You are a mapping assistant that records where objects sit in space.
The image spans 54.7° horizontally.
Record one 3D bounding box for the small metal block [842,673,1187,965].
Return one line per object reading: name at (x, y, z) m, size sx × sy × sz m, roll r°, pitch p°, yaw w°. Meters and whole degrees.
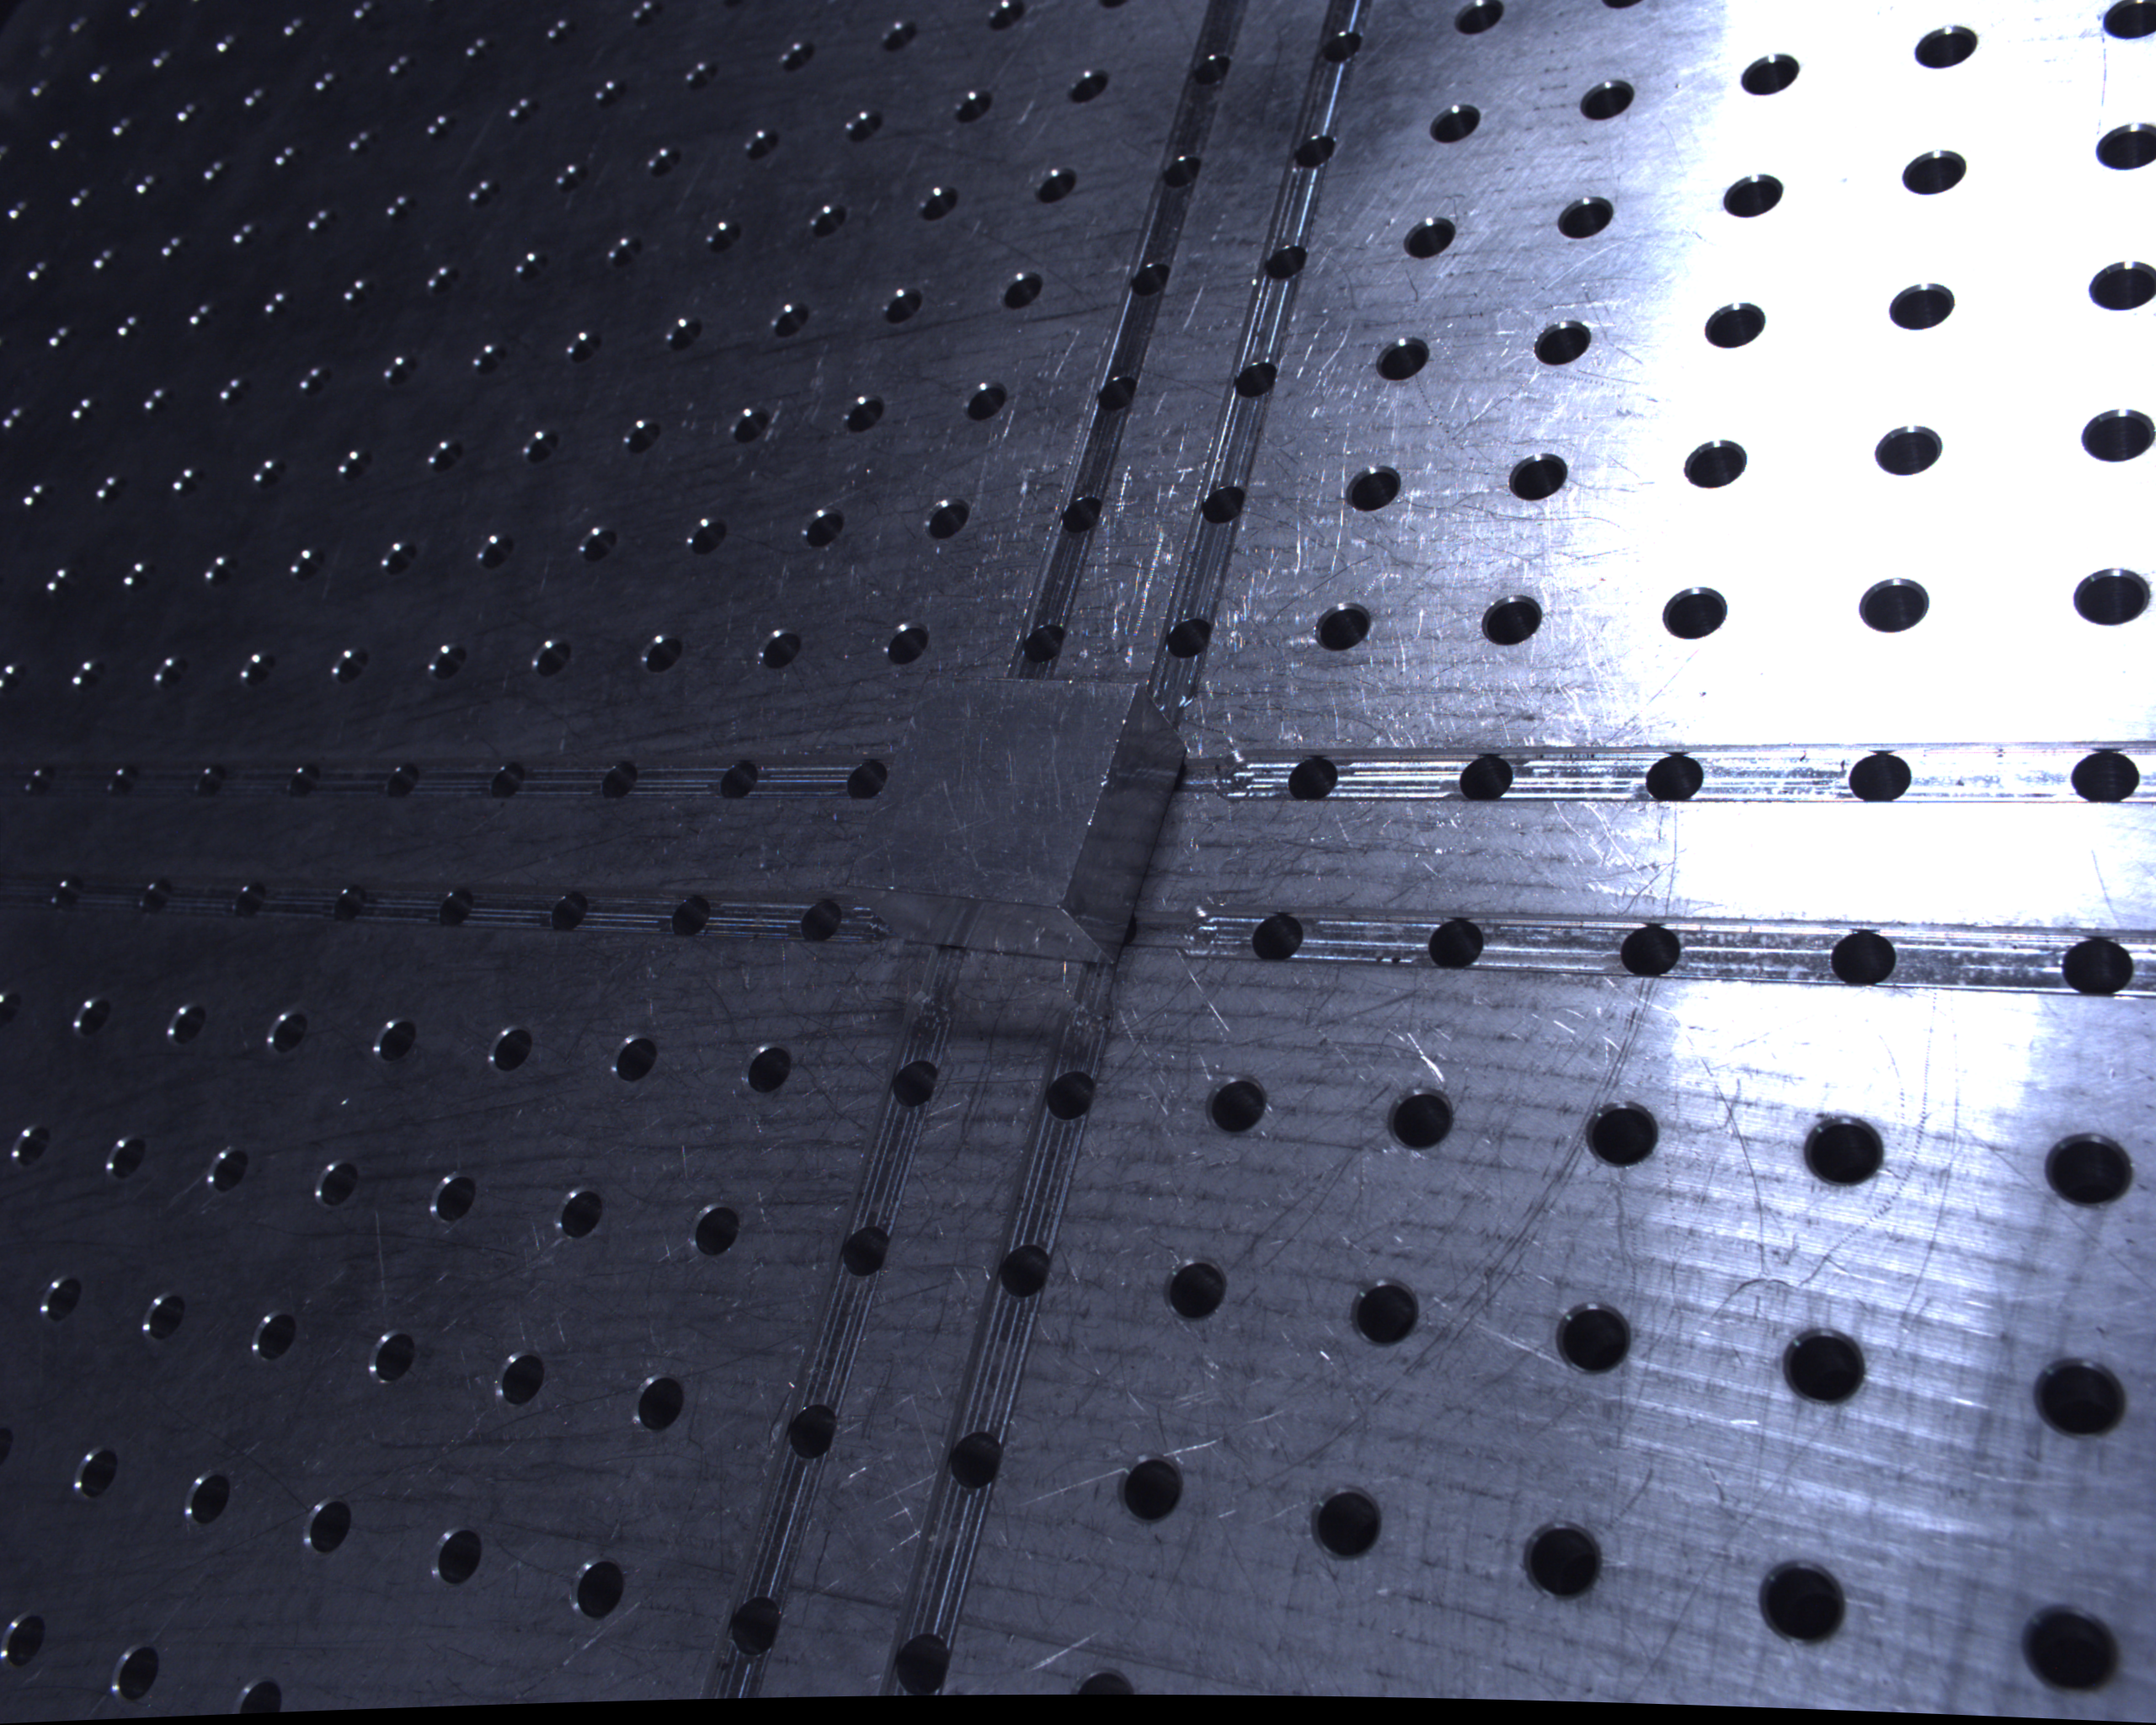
small metal block at (-0.012, -0.010, 0.419) m, size 0.050 × 0.025 × 0.050 m, roll 5°, pitch 64°, yaw 30°
